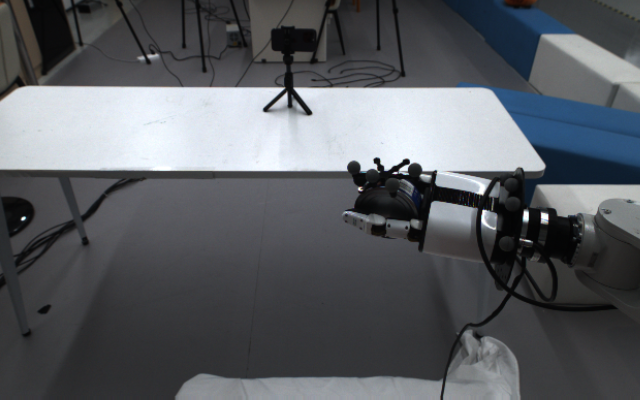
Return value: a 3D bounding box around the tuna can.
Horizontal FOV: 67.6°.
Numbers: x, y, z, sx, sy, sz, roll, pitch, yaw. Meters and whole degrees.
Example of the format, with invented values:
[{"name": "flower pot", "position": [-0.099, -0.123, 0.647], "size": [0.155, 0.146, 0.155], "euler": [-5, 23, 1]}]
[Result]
[{"name": "tuna can", "position": [0.093, 0.007, 0.644], "size": [0.085, 0.085, 0.034], "euler": [14, 41, 16]}]
